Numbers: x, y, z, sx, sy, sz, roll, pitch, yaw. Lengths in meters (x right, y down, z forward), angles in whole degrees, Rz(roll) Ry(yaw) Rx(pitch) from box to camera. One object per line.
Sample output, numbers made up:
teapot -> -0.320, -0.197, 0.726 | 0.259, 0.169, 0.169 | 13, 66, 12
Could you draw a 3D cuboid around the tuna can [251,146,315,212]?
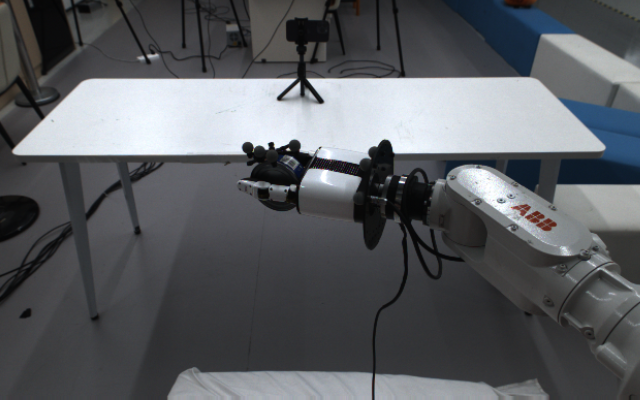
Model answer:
tuna can -> -0.060, -0.027, 0.738 | 0.085, 0.085, 0.034 | 14, 34, 17
